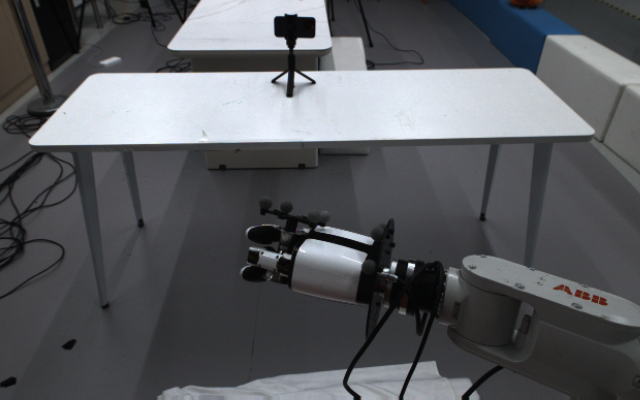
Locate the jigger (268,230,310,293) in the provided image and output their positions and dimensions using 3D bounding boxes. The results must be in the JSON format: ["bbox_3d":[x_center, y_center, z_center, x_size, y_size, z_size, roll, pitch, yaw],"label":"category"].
[{"bbox_3d":[-0.044,0.073,0.643,0.043,0.071,0.043,14,1,0],"label":"jigger"}]
